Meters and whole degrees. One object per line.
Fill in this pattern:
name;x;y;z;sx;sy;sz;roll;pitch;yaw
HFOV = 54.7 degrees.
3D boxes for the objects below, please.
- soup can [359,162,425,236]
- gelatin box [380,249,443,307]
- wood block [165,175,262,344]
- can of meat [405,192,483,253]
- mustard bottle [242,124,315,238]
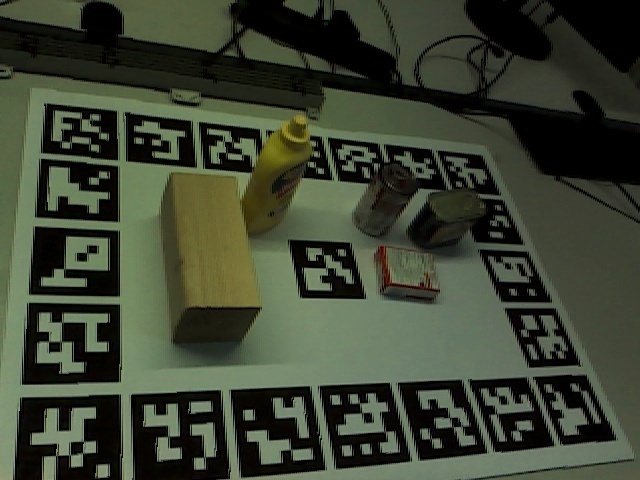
soup can;0.110;-0.061;0.959;0.067;0.102;0.068;12;51;-16
gelatin box;0.137;0.057;0.929;0.089;0.030;0.073;10;51;-14
wood block;-0.142;0.022;0.794;0.090;0.090;0.207;5;47;-23
can of meat;0.197;-0.027;0.997;0.101;0.084;0.058;-8;58;-33
mustard bottle;-0.057;-0.085;0.859;0.096;0.191;0.059;-21;64;-38
